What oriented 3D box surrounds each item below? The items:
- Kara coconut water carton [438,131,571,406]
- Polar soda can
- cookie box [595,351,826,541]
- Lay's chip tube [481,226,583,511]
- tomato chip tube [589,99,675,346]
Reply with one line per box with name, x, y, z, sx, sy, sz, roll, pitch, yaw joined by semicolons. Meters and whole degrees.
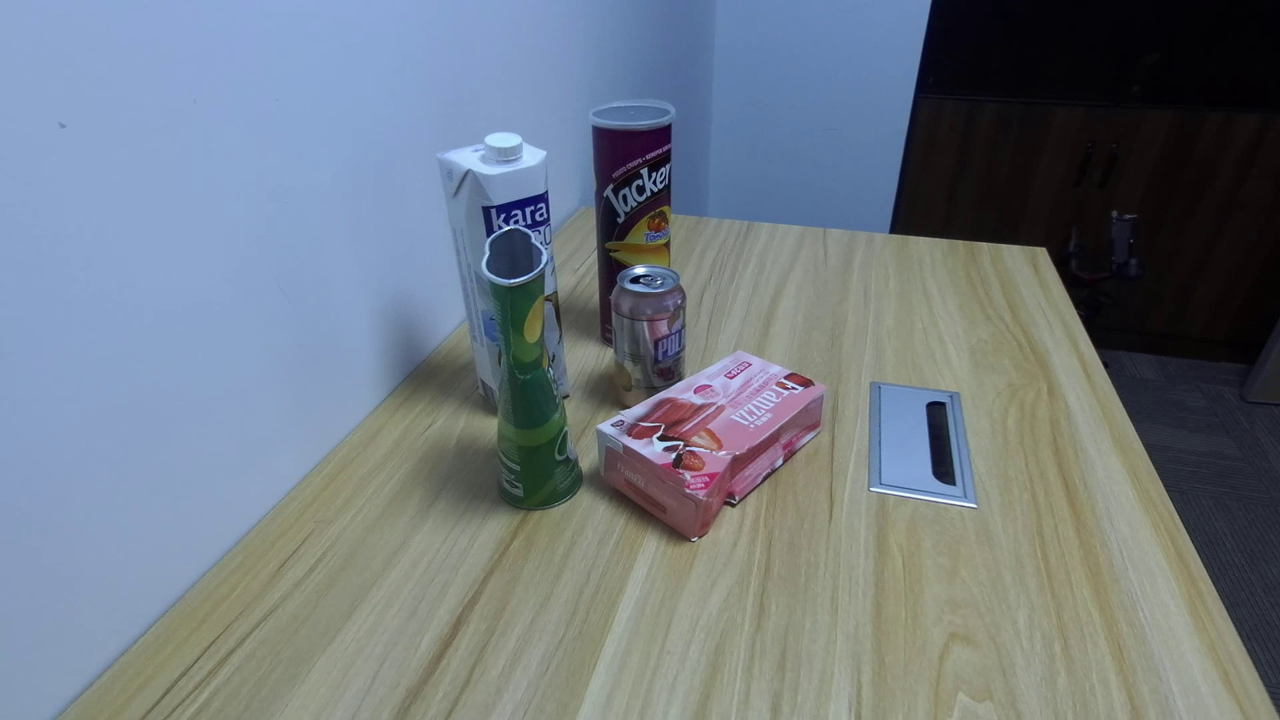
Kara coconut water carton;-0.113;-0.073;0.615;0.077;0.245;0.075;-24;38;-31
Polar soda can;0.009;-0.019;0.643;0.067;0.126;0.067;-2;32;1
cookie box;0.065;0.055;0.578;0.104;0.059;0.186;27;40;34
Lay's chip tube;-0.083;0.014;0.522;0.074;0.200;0.069;24;40;35
tomato chip tube;-0.005;-0.127;0.707;0.078;0.234;0.078;0;31;0
